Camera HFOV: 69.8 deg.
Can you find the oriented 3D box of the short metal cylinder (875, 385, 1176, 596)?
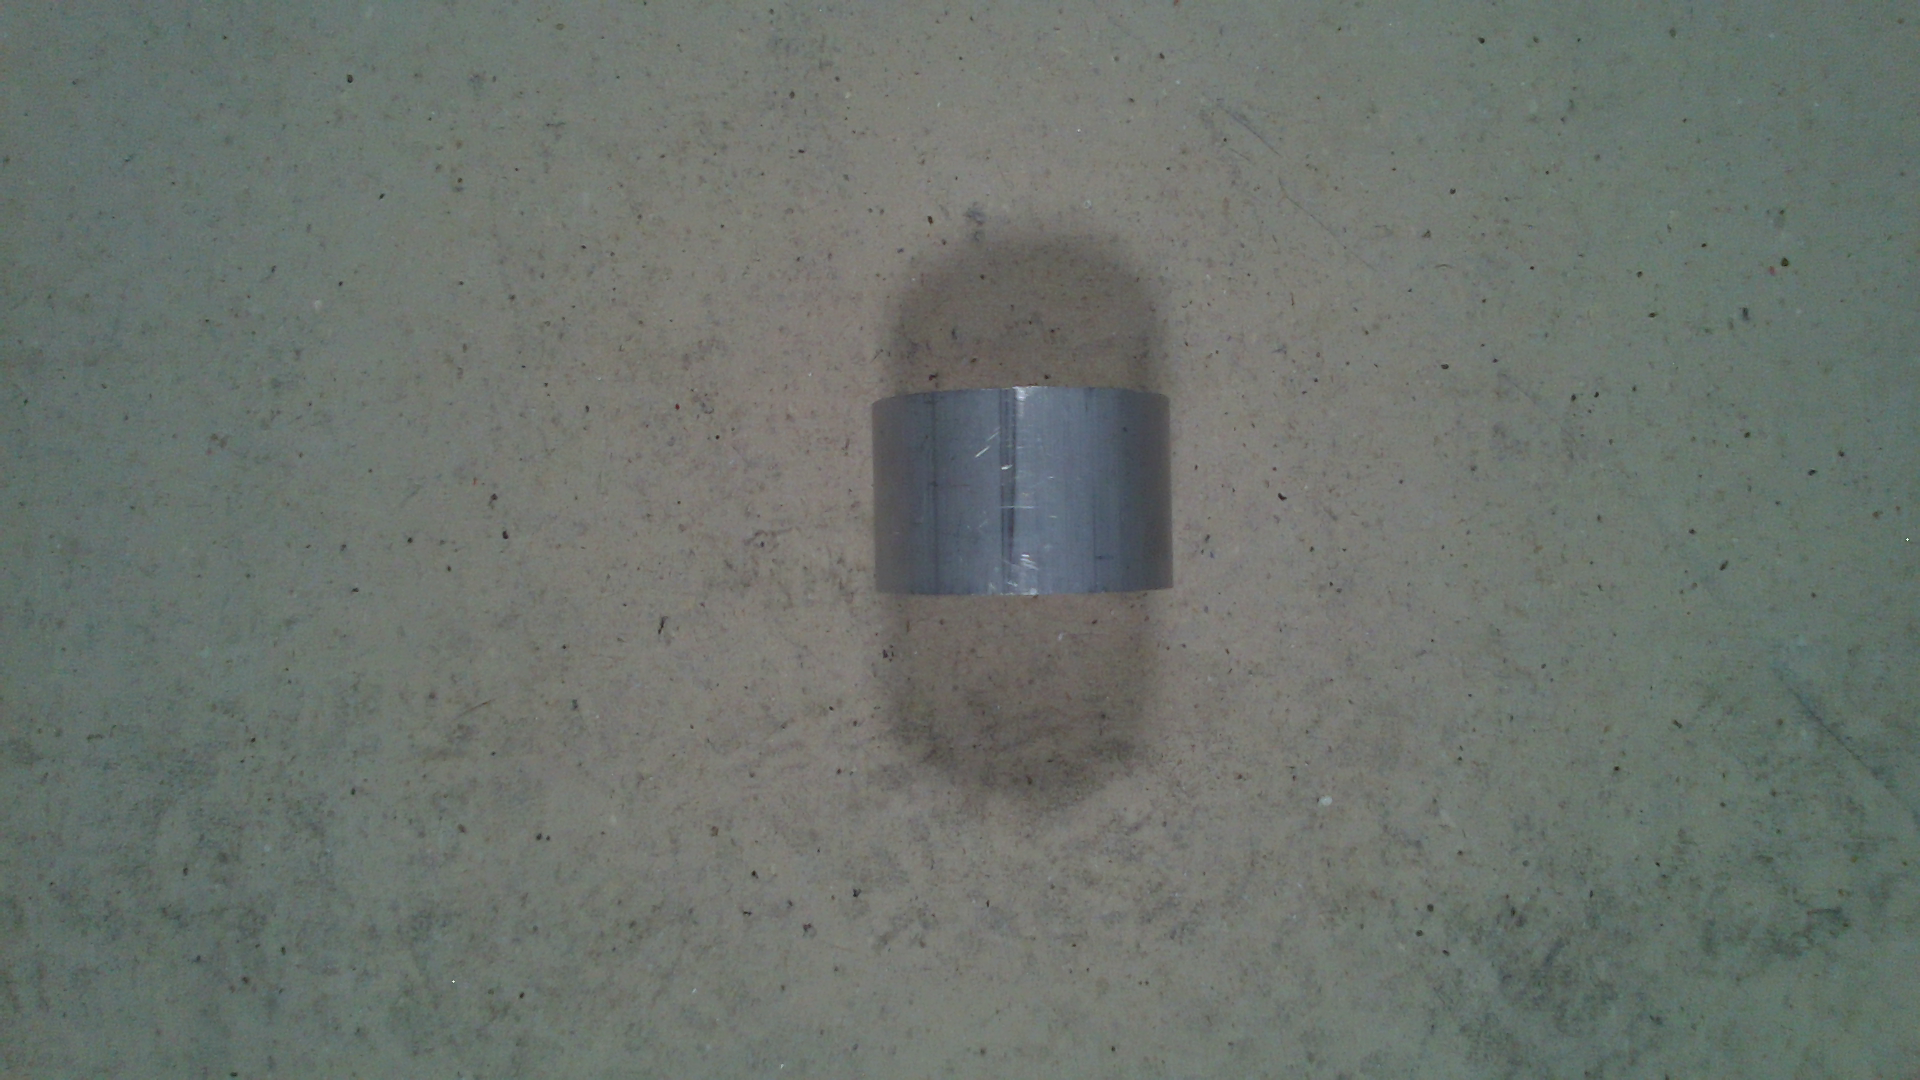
[{"bbox_3d":[0.017,-0.012,0.368,0.080,0.080,0.050,-1,90,0],"label":"short metal cylinder"}]
